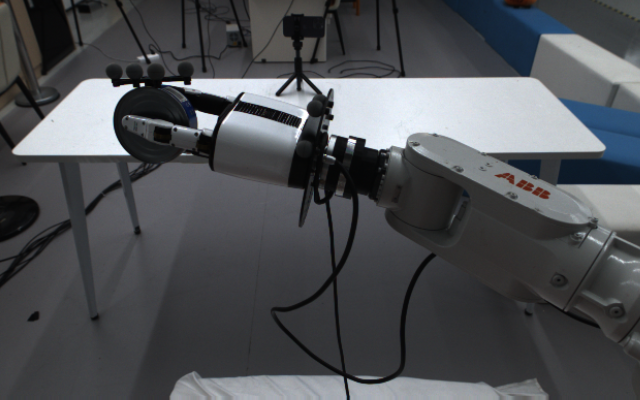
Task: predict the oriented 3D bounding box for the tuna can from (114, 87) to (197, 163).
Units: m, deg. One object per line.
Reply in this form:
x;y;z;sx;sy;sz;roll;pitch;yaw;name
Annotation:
-0.180;-0.084;0.546;0.085;0.085;0.034;4;18;2;tuna can
